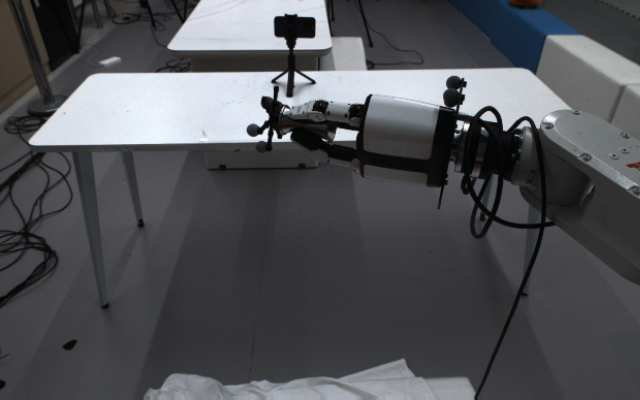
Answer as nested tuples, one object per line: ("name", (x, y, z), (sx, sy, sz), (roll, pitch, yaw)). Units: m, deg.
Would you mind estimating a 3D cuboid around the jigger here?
("jigger", (-0.010, -0.106, 0.639), (0.071, 0.043, 0.043), (9, 35, 16))
